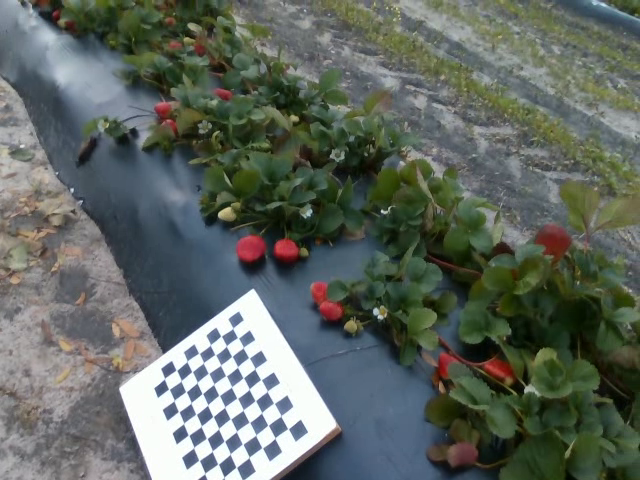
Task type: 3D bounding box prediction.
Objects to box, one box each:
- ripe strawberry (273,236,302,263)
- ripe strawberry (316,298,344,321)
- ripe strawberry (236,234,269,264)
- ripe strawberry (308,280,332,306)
[{"bbox_3d":[-0.067,0.025,1.118,0.050,0.051,0.059,-22,4,17],"label":"ripe strawberry"},{"bbox_3d":[0.015,0.118,1.007,0.049,0.041,0.043,12,25,-47],"label":"ripe strawberry"},{"bbox_3d":[-0.133,0.025,1.116,0.058,0.044,0.065,-17,37,20],"label":"ripe strawberry"},{"bbox_3d":[0.001,0.096,1.043,0.053,0.047,0.039,32,-10,3],"label":"ripe strawberry"}]
